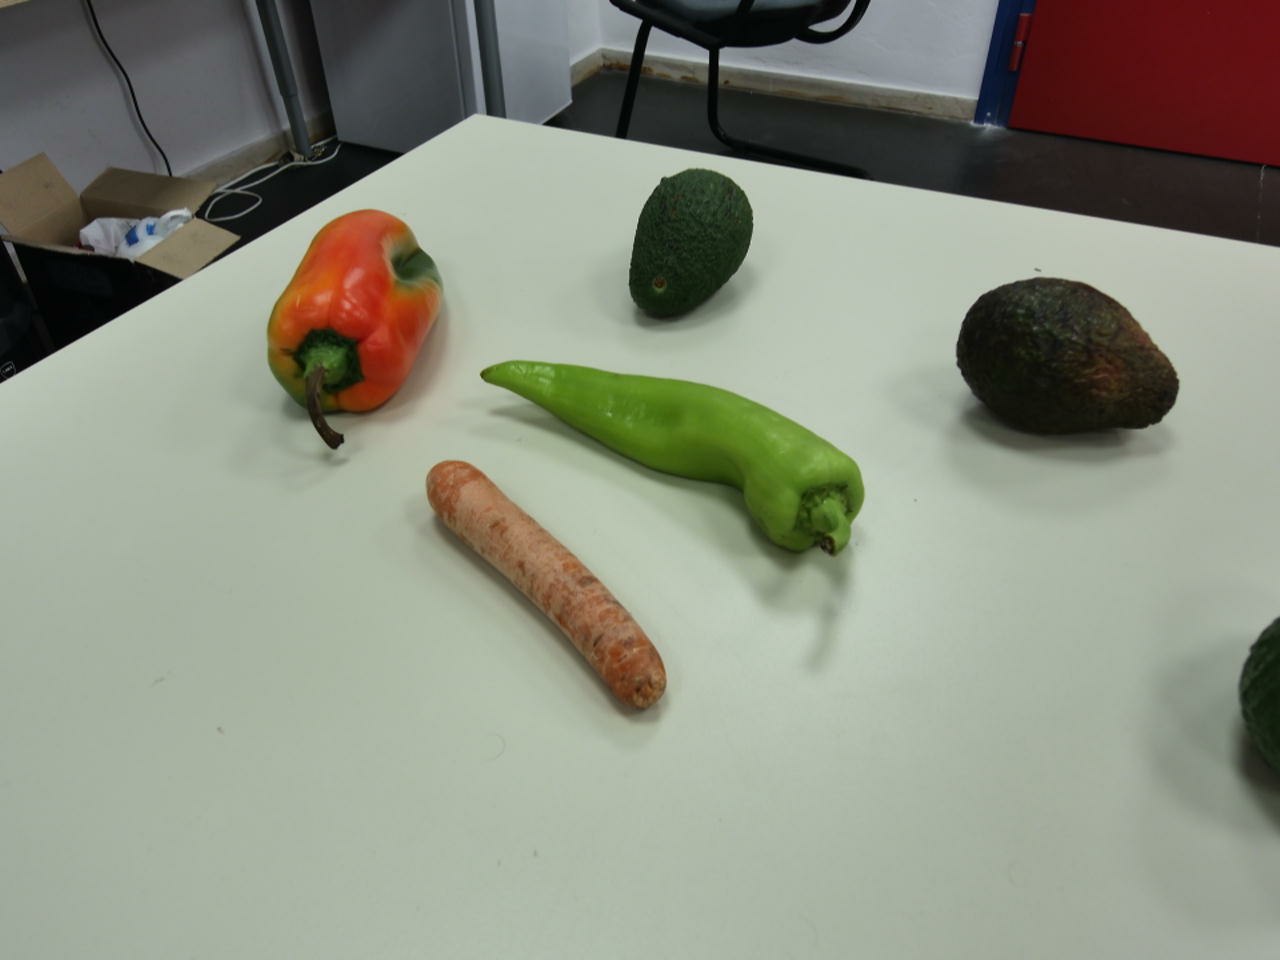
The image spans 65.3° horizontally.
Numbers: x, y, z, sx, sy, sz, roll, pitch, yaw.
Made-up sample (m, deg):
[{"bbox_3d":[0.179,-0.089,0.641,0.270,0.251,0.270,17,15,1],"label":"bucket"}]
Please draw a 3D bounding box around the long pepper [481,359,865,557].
[{"bbox_3d":[0.018,-0.022,0.448,0.205,0.045,0.065,30,46,33],"label":"long pepper"}]
